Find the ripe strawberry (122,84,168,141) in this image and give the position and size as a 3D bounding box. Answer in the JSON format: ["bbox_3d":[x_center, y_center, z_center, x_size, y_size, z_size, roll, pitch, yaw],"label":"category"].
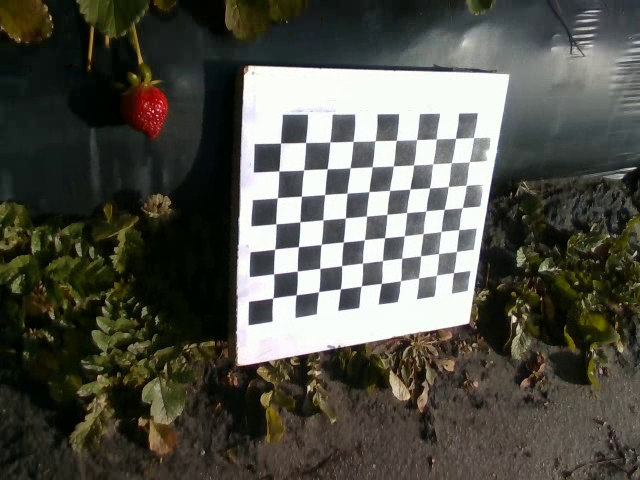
[{"bbox_3d":[-0.129,-0.090,0.445,0.040,0.044,0.036,-25,14,-18],"label":"ripe strawberry"}]
